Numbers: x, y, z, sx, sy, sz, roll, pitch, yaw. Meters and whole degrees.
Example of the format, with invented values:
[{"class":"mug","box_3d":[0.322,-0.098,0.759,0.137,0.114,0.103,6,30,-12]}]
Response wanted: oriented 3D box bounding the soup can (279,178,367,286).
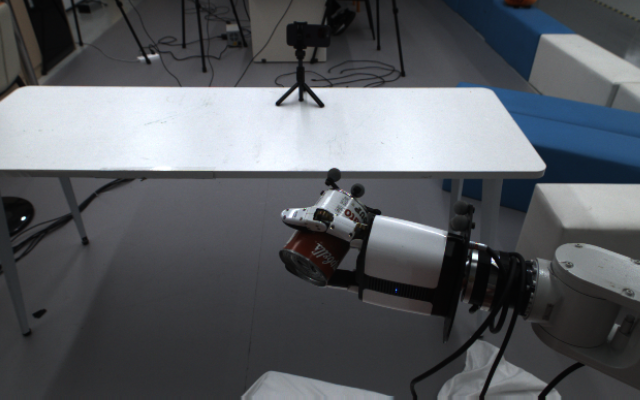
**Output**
[{"class":"soup can","box_3d":[0.008,0.043,0.581,0.067,0.067,0.101,22,60,26]}]
